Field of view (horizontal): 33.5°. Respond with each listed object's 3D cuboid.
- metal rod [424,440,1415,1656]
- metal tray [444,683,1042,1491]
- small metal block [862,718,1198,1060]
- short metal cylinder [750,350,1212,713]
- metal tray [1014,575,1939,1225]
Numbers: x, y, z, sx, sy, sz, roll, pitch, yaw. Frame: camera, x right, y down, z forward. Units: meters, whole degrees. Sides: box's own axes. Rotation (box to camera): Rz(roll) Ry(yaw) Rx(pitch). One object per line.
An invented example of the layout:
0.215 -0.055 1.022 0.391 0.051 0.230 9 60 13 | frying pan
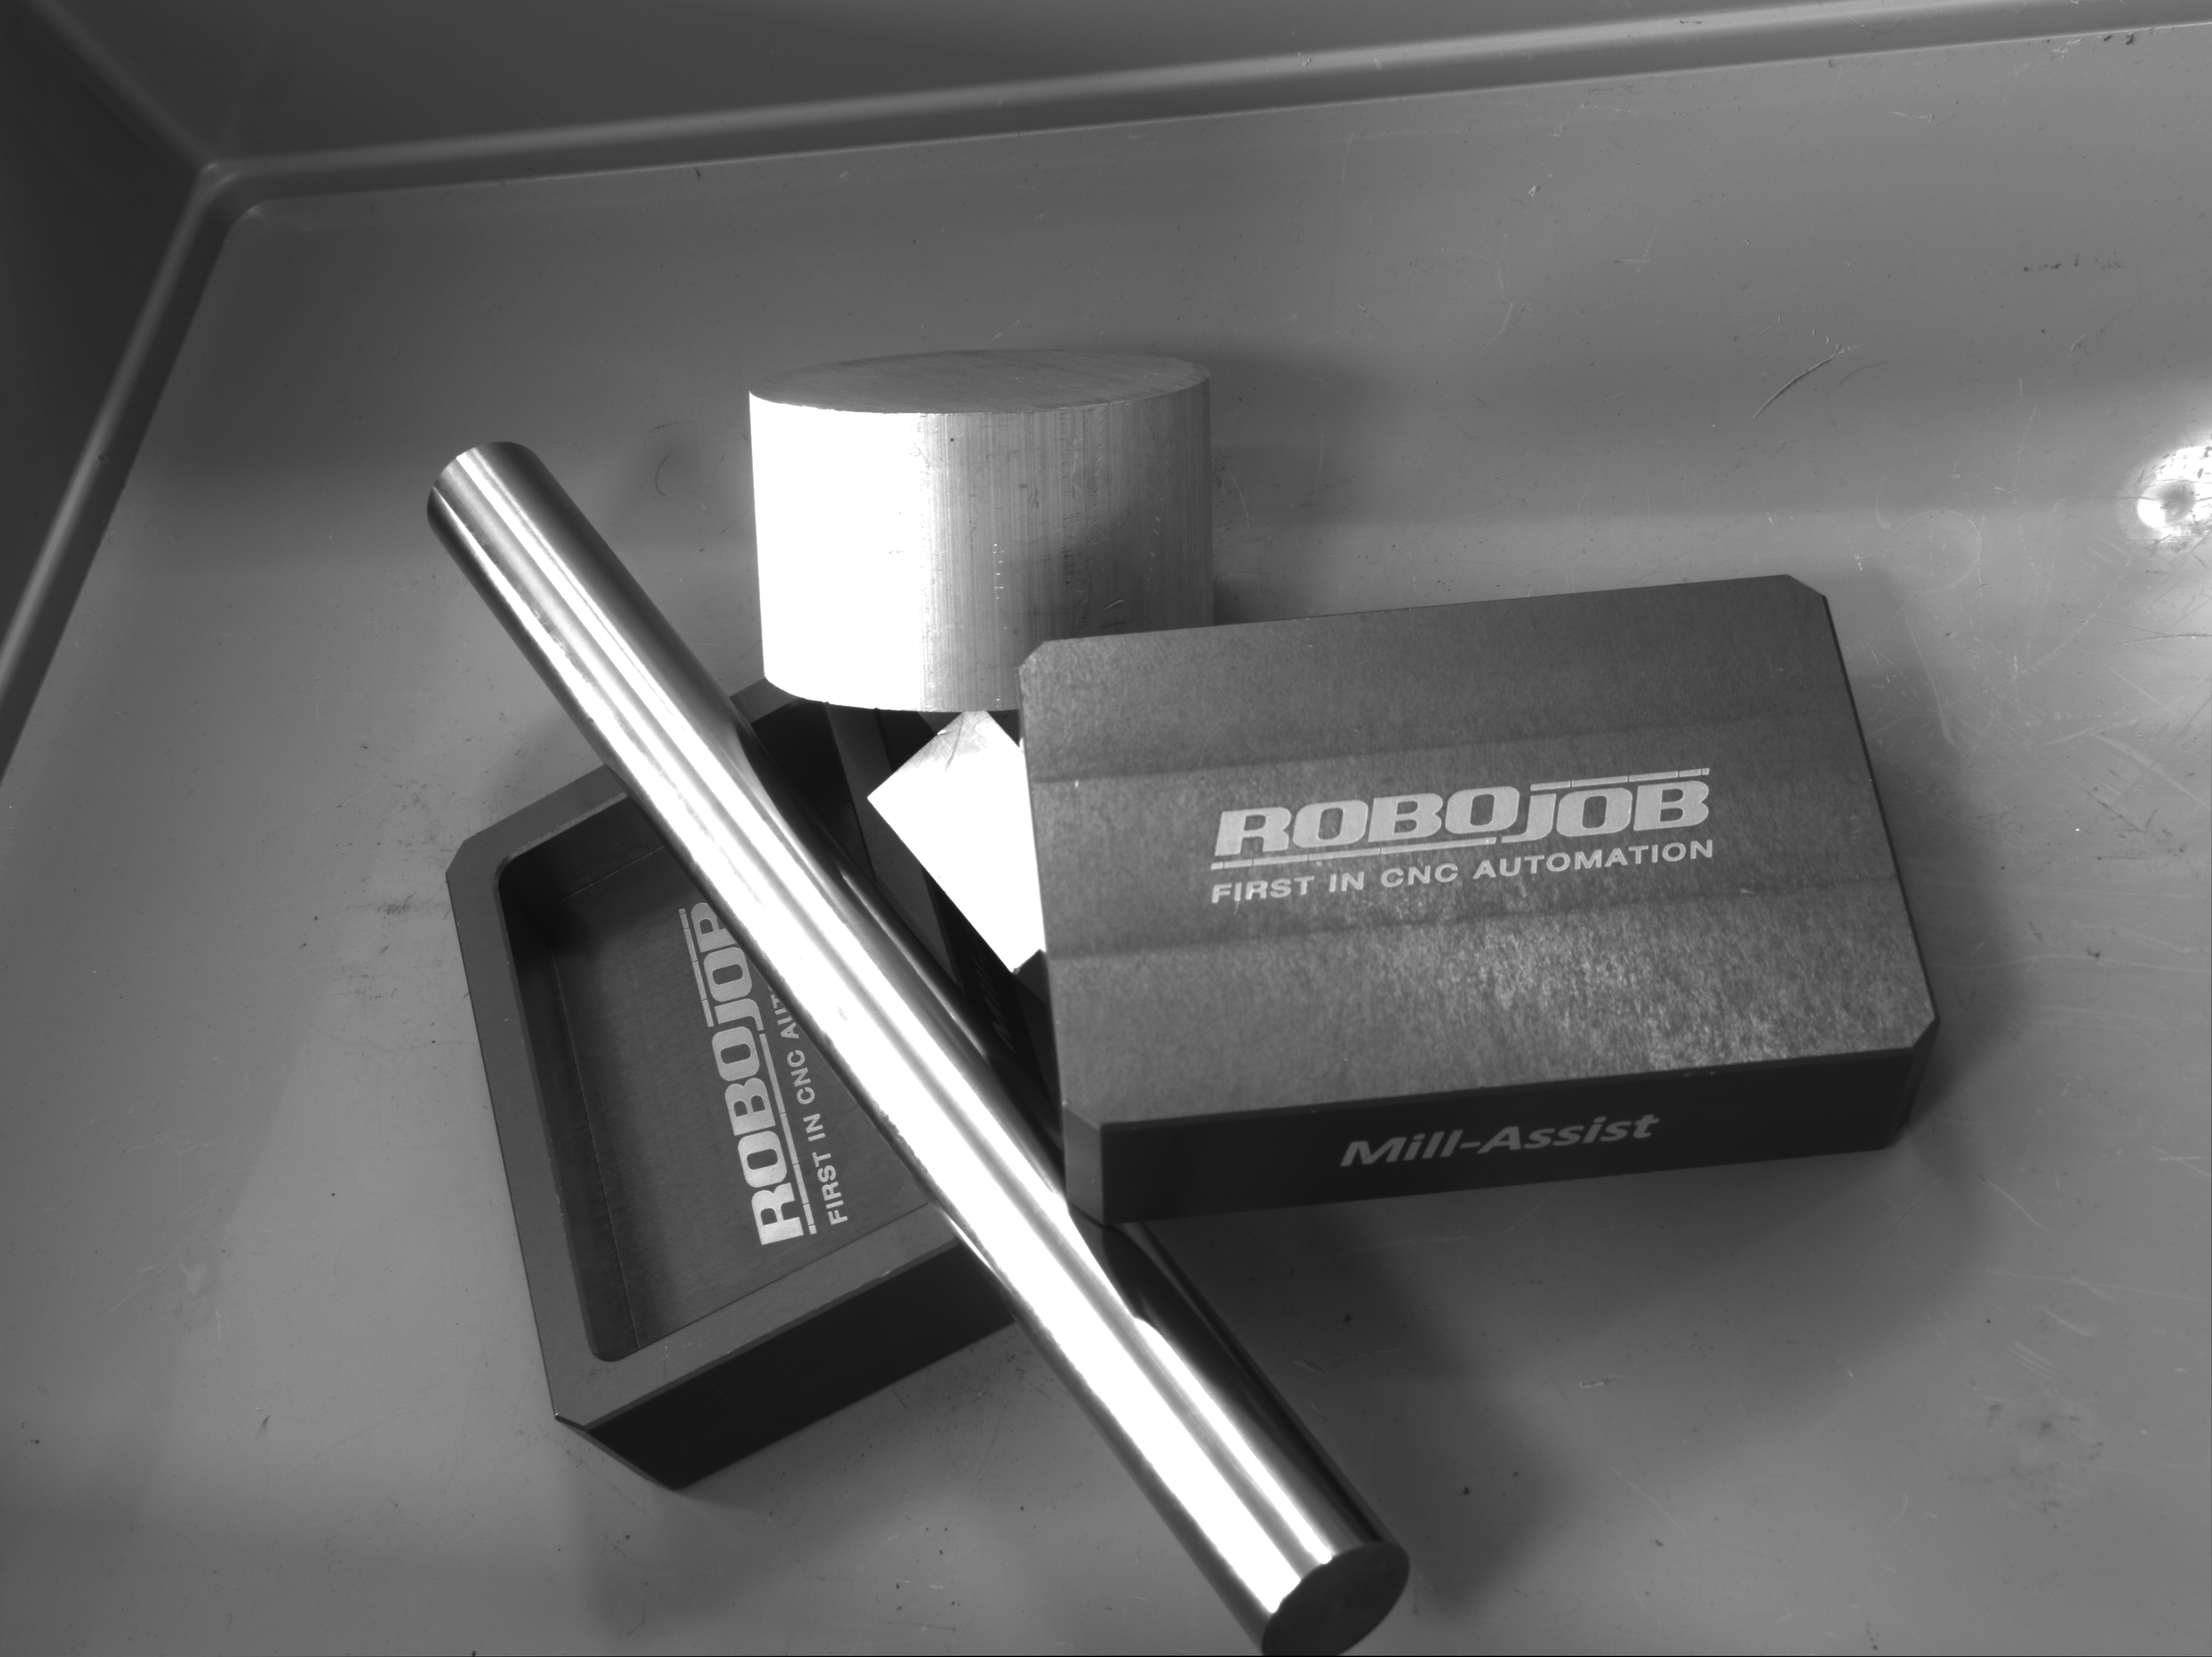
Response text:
-0.043 0.023 0.614 0.025 0.025 0.299 -41 51 0 | metal rod
-0.062 0.040 0.650 0.090 0.030 0.130 -28 52 11 | metal tray
-0.008 0.012 0.624 0.025 0.050 0.050 -42 51 0 | small metal block
-0.021 -0.054 0.645 0.080 0.080 0.050 8 108 32 | short metal cylinder
0.054 0.010 0.572 0.130 0.030 0.090 -5 56 -3 | metal tray
